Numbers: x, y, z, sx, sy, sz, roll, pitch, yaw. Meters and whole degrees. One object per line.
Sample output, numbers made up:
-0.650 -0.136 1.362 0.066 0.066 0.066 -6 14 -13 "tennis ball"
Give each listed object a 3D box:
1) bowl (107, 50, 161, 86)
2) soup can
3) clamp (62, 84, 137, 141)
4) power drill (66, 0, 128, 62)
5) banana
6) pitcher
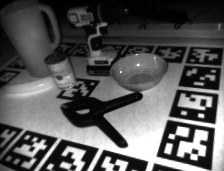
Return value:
0.062 -0.048 0.621 0.161 0.056 0.161 -9 40 9 "bowl"
-0.161 -0.064 0.675 0.068 0.103 0.067 -7 32 5 "soup can"
-0.054 0.050 0.544 0.200 0.037 0.165 5 47 23 "clamp"
-0.031 -0.161 0.651 0.183 0.188 0.057 3 43 21 "power drill"
-0.285 -0.020 0.714 0.197 0.039 0.074 -9 31 4 "banana"
-0.260 -0.171 0.720 0.188 0.244 0.132 -10 36 7 "pitcher"
